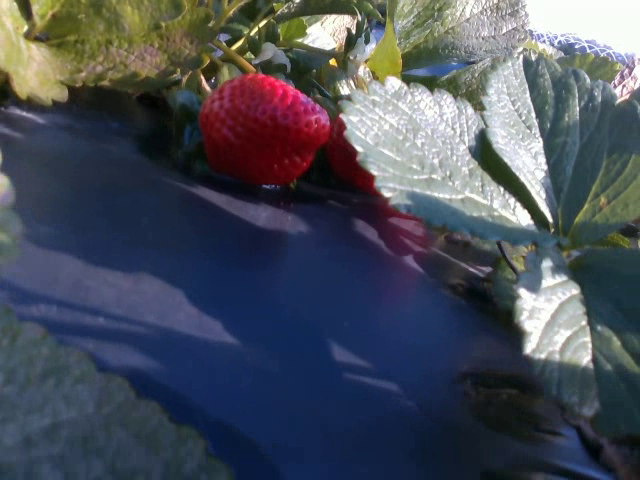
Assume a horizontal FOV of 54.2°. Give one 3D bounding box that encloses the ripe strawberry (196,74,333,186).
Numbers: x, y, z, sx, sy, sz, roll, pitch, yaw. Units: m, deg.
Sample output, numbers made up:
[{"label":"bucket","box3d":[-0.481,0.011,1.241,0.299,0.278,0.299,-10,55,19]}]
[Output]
[{"label":"ripe strawberry","box3d":[-0.014,-0.033,0.183,0.051,0.037,0.043,15,44,42]}]
